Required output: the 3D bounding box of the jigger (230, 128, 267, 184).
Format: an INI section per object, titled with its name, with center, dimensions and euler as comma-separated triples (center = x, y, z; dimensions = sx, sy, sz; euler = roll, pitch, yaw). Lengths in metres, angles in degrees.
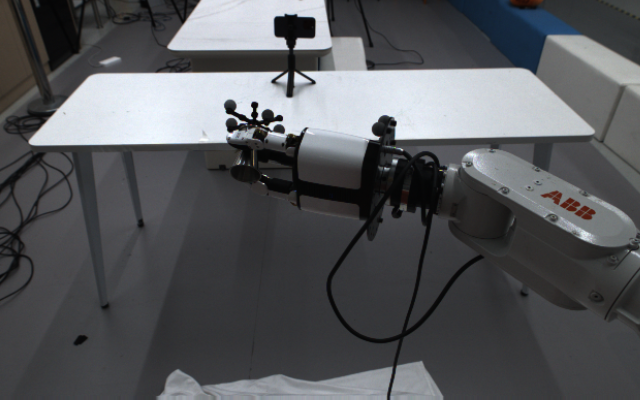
[jigger]
center = -0.097, -0.066, 0.656
dimensions = 0.043, 0.043, 0.071
euler = 4, 60, 2
